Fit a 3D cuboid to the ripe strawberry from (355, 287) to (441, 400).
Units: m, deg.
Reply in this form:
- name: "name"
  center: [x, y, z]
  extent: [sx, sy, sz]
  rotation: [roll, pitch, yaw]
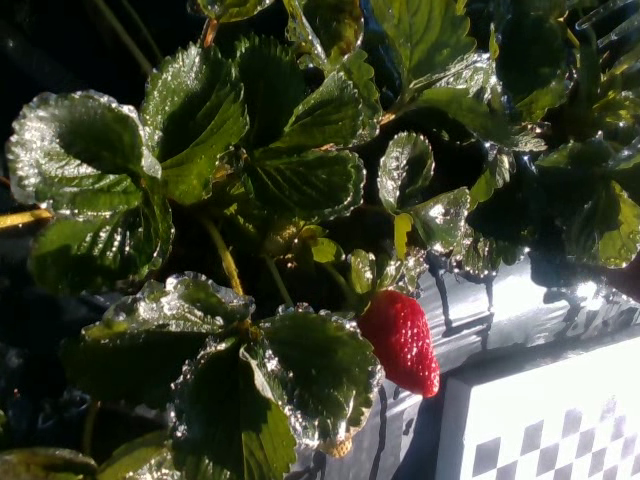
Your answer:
- name: "ripe strawberry"
  center: [0.040, 0.057, 0.303]
  extent: [0.042, 0.061, 0.046]
  rotation: [-20, -17, -30]
